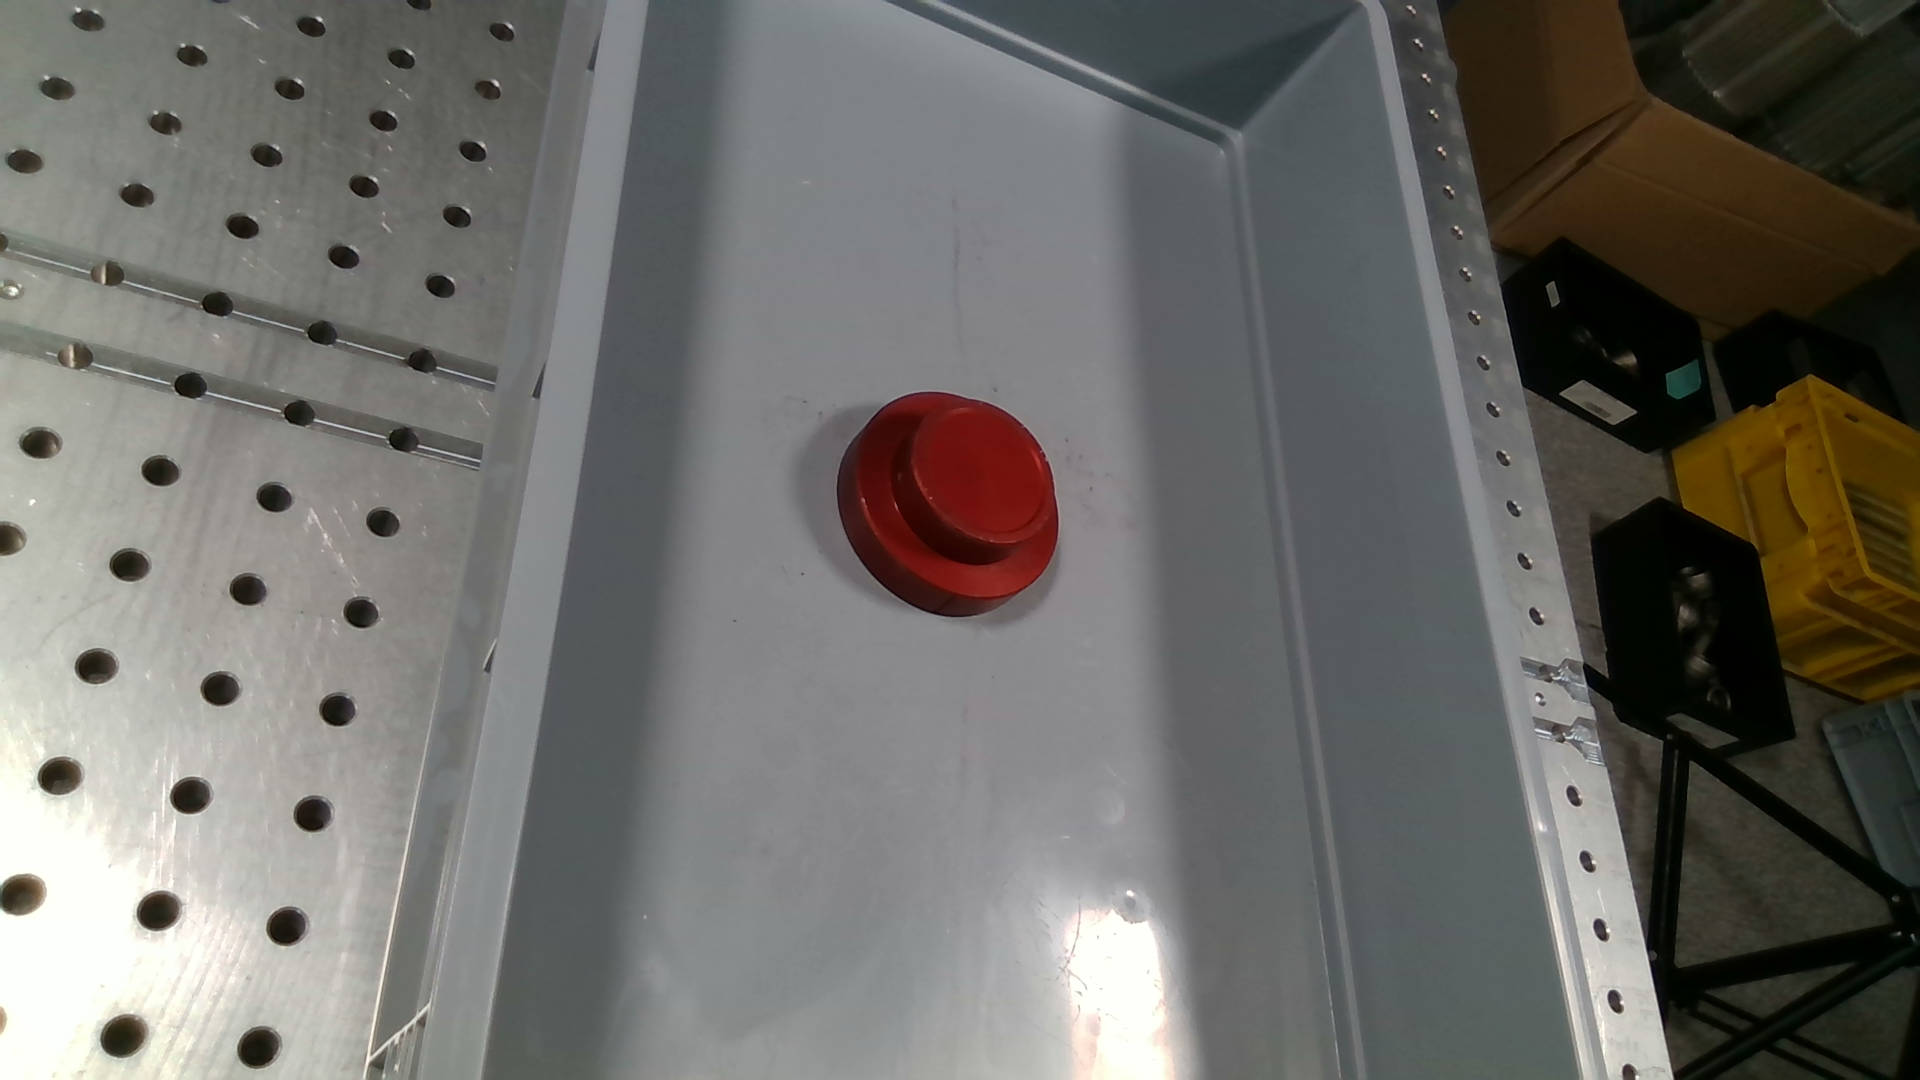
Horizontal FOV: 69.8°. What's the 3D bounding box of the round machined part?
[{"bbox_3d":[0.001,-0.021,0.583,0.098,0.042,0.098,14,59,-25],"label":"round machined part"}]
